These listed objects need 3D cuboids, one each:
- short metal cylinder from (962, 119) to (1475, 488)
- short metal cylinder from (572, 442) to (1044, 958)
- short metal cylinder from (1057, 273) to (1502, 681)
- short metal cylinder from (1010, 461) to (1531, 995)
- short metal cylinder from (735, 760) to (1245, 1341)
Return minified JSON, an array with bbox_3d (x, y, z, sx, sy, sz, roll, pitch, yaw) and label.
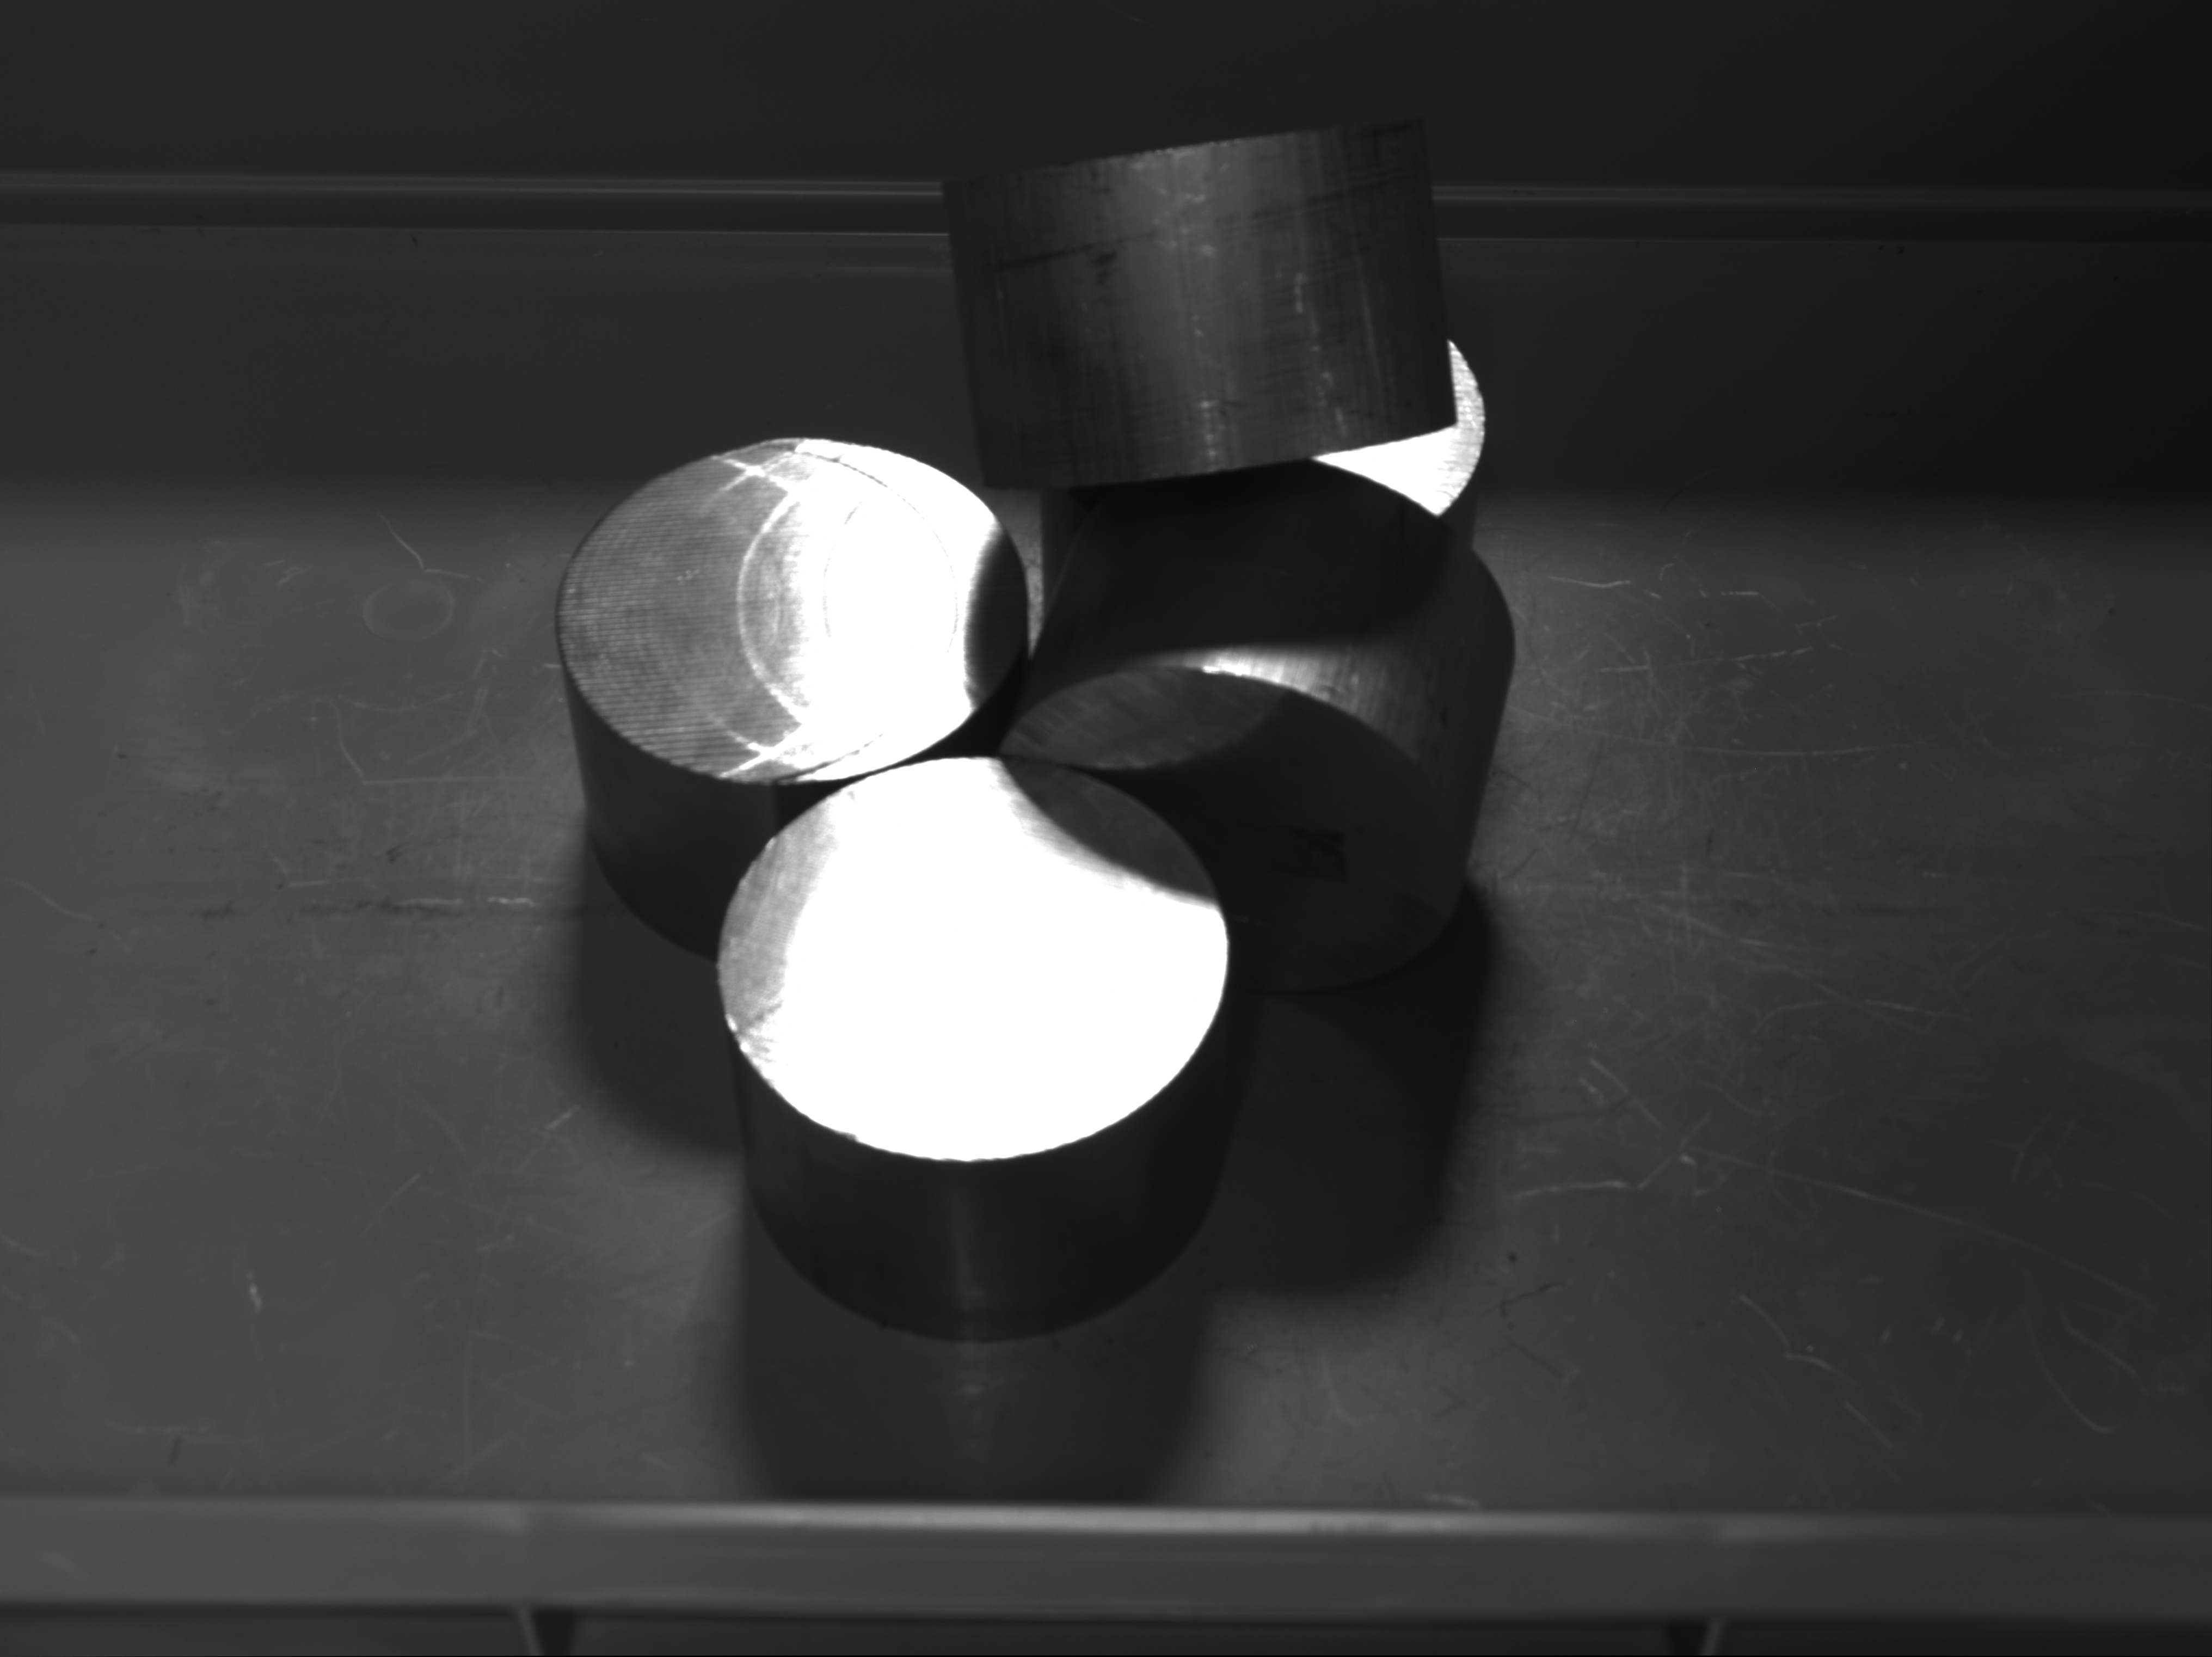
[{"bbox_3d":[0.019,-0.087,0.606,0.080,0.050,0.080,-7,10,1],"label":"short metal cylinder"},{"bbox_3d":[-0.051,-0.022,0.642,0.080,0.050,0.080,0,50,0],"label":"short metal cylinder"},{"bbox_3d":[0.031,-0.058,0.673,0.080,0.050,0.080,0,50,0],"label":"short metal cylinder"},{"bbox_3d":[0.028,-0.017,0.619,0.080,0.080,0.050,10,51,9],"label":"short metal cylinder"},{"bbox_3d":[-0.018,0.035,0.594,0.080,0.050,0.080,0,50,0],"label":"short metal cylinder"}]
